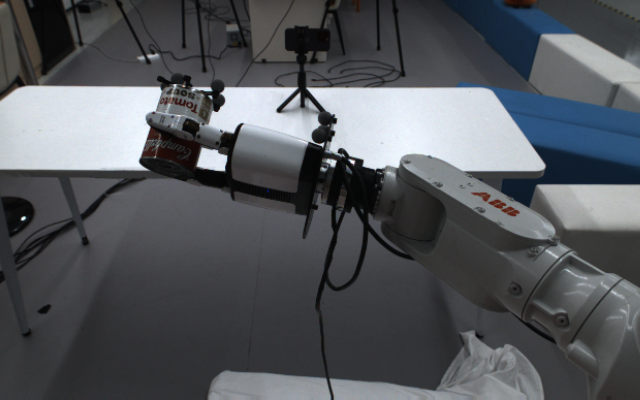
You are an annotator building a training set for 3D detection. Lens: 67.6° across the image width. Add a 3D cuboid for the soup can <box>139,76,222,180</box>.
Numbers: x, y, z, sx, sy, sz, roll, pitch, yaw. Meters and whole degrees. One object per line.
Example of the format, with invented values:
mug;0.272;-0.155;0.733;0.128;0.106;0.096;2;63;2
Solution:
soup can;-0.180;-0.084;0.611;0.067;0.067;0.101;8;74;9
